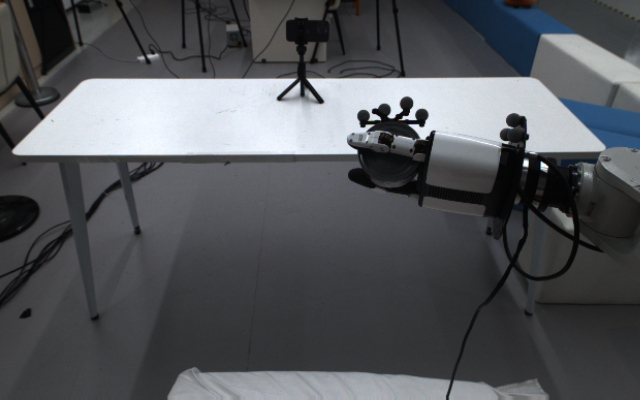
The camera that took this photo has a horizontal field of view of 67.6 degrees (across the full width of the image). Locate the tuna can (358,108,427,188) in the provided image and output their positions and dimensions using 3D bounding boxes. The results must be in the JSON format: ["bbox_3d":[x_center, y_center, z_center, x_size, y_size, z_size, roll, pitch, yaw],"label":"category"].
[{"bbox_3d":[0.095,-0.062,0.654,0.085,0.034,0.085,-3,73,10],"label":"tuna can"}]
